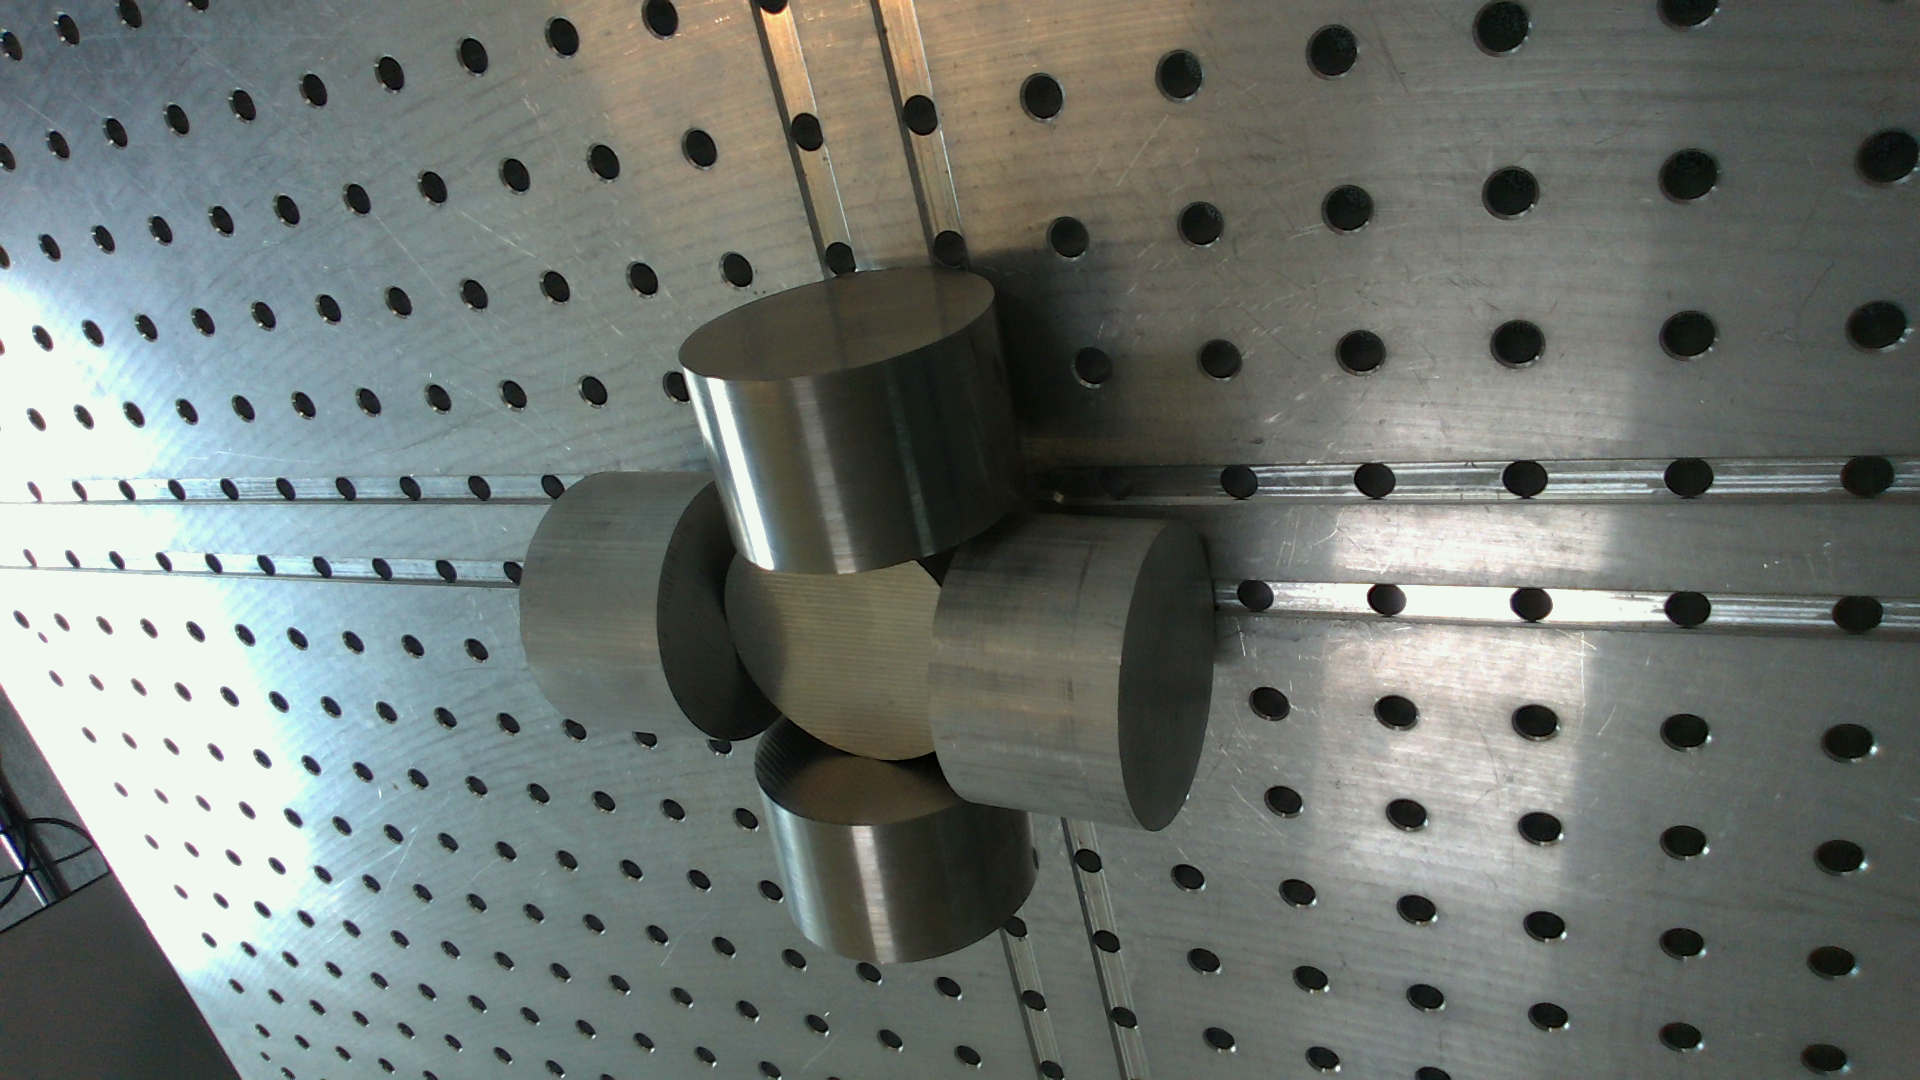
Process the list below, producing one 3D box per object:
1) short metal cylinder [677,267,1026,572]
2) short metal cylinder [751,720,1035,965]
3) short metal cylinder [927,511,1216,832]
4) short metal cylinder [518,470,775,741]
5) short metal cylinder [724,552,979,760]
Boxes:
[{"bbox_3d":[-0.027,-0.033,0.354,0.080,0.080,0.050,3,119,27],"label":"short metal cylinder"},{"bbox_3d":[-0.019,0.082,0.420,0.080,0.080,0.050,6,121,25],"label":"short metal cylinder"},{"bbox_3d":[0.032,0.033,0.364,0.050,0.080,0.080,3,120,26],"label":"short metal cylinder"},{"bbox_3d":[-0.086,0.019,0.418,0.050,0.080,0.080,1,119,27],"label":"short metal cylinder"},{"bbox_3d":[-0.021,0.017,0.402,0.080,0.050,0.080,13,123,20],"label":"short metal cylinder"}]
